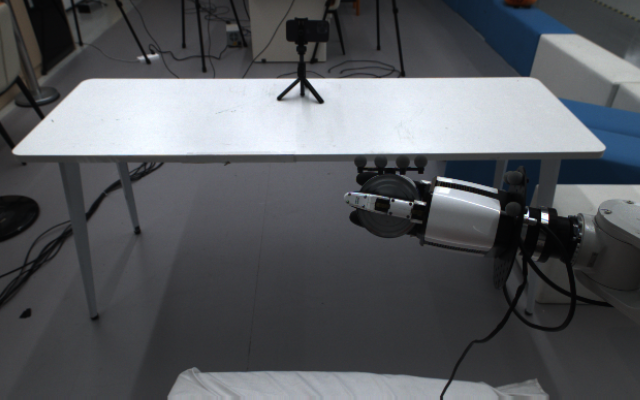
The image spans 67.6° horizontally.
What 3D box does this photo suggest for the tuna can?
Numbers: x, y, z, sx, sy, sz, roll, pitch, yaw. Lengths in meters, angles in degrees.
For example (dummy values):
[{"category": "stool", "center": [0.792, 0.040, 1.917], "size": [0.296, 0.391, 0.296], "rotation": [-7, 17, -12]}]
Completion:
[{"category": "tuna can", "center": [0.094, 0.005, 0.648], "size": [0.085, 0.085, 0.034], "rotation": [13, 7, 15]}]
